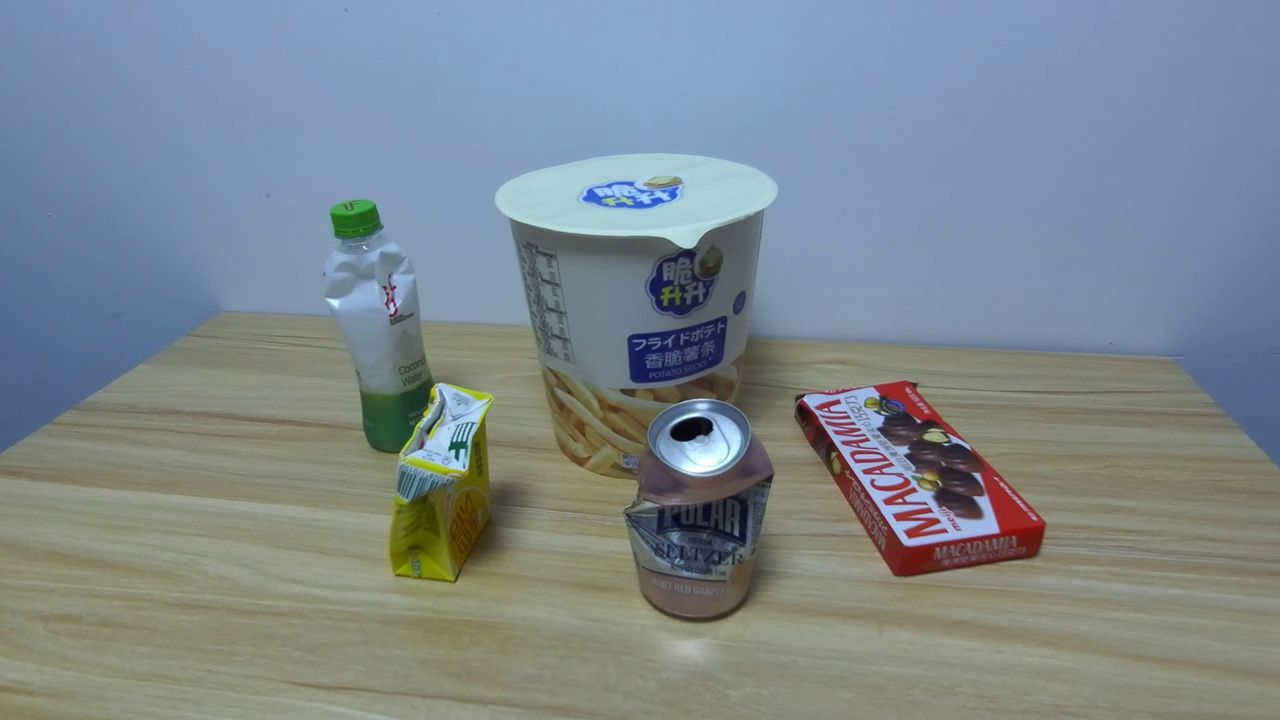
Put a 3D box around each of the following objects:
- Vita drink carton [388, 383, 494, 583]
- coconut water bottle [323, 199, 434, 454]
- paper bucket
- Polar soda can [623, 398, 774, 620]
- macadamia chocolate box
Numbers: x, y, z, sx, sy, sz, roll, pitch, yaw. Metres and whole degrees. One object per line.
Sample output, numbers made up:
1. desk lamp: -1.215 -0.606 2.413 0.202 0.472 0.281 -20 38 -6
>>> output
1. Vita drink carton: -0.119 0.077 0.434 0.042 0.108 0.087 15 35 3
2. coconut water bottle: -0.193 -0.022 0.526 0.069 0.186 0.069 -3 30 2
3. paper bucket: 0.002 -0.034 0.526 0.198 0.195 0.198 -2 30 2
4. Polar soda can: 0.030 0.087 0.390 0.071 0.122 0.066 -19 38 -26
5. macadamia chocolate box: 0.188 0.072 0.501 0.106 0.028 0.182 -6 30 -7
